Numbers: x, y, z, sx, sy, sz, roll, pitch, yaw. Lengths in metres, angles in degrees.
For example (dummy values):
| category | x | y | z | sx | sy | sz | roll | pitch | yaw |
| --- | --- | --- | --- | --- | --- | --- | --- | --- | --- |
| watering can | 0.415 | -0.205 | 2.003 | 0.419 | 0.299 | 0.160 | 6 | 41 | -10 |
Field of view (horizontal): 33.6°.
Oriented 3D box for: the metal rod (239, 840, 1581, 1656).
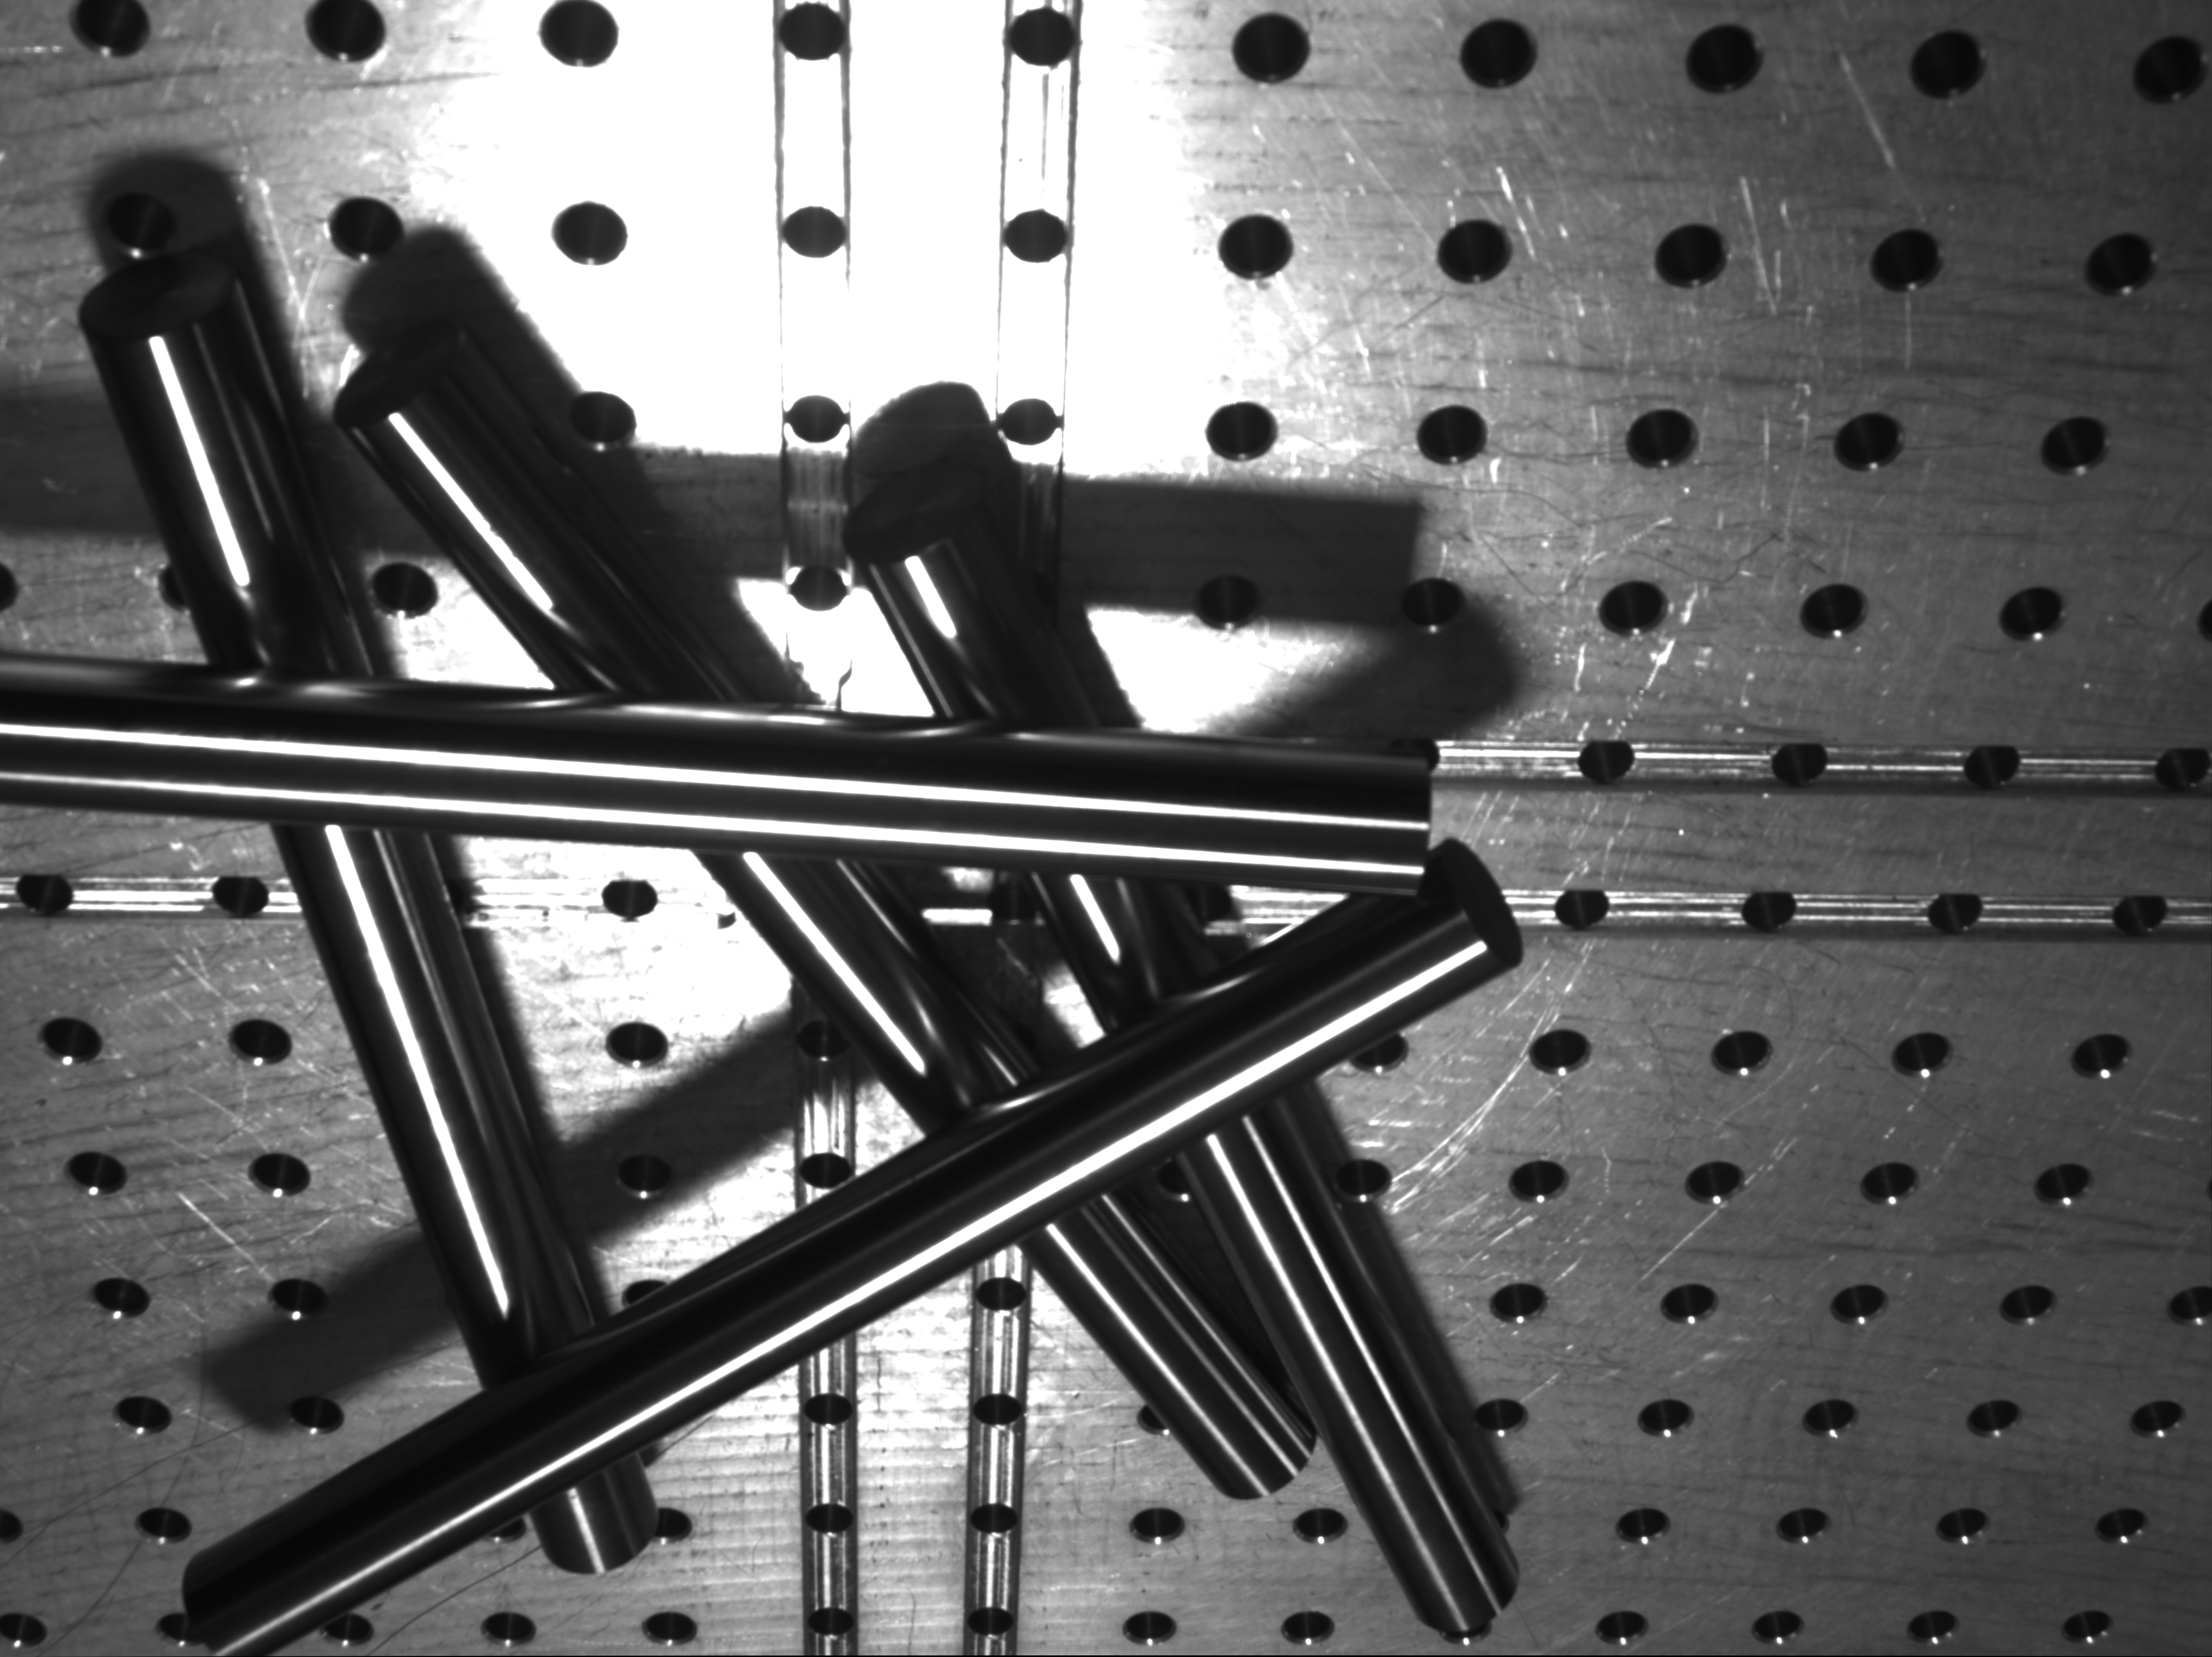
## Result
| category | x | y | z | sx | sy | sz | roll | pitch | yaw |
| --- | --- | --- | --- | --- | --- | --- | --- | --- | --- |
| metal rod | -0.045 | 0.085 | 0.678 | 0.300 | 0.025 | 0.025 | -31 | 124 | 22 |

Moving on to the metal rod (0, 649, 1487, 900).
| category | x | y | z | sx | sy | sz | roll | pitch | yaw |
| --- | --- | --- | --- | --- | --- | --- | --- | --- | --- |
| metal rod | -0.088 | -0.011 | 0.597 | 0.300 | 0.025 | 0.025 | 4 | 130 | -5 |

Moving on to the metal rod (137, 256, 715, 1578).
| category | x | y | z | sx | sy | sz | roll | pitch | yaw |
| --- | --- | --- | --- | --- | --- | --- | --- | --- | --- |
| metal rod | -0.116 | 0.032 | 0.663 | 0.025 | 0.025 | 0.300 | -7 | 130 | 4 |

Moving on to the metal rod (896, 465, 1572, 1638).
| category | x | y | z | sx | sy | sz | roll | pitch | yaw |
| --- | --- | --- | --- | --- | --- | --- | --- | --- | --- |
| metal rod | 0.032 | 0.055 | 0.688 | 0.025 | 0.025 | 0.301 | -18 | 128 | 13 |

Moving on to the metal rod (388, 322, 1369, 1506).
| category | x | y | z | sx | sy | sz | roll | pitch | yaw |
| --- | --- | --- | --- | --- | --- | --- | --- | --- | --- |
| metal rod | -0.030 | 0.028 | 0.663 | 0.025 | 0.025 | 0.301 | -24 | 127 | 17 |
